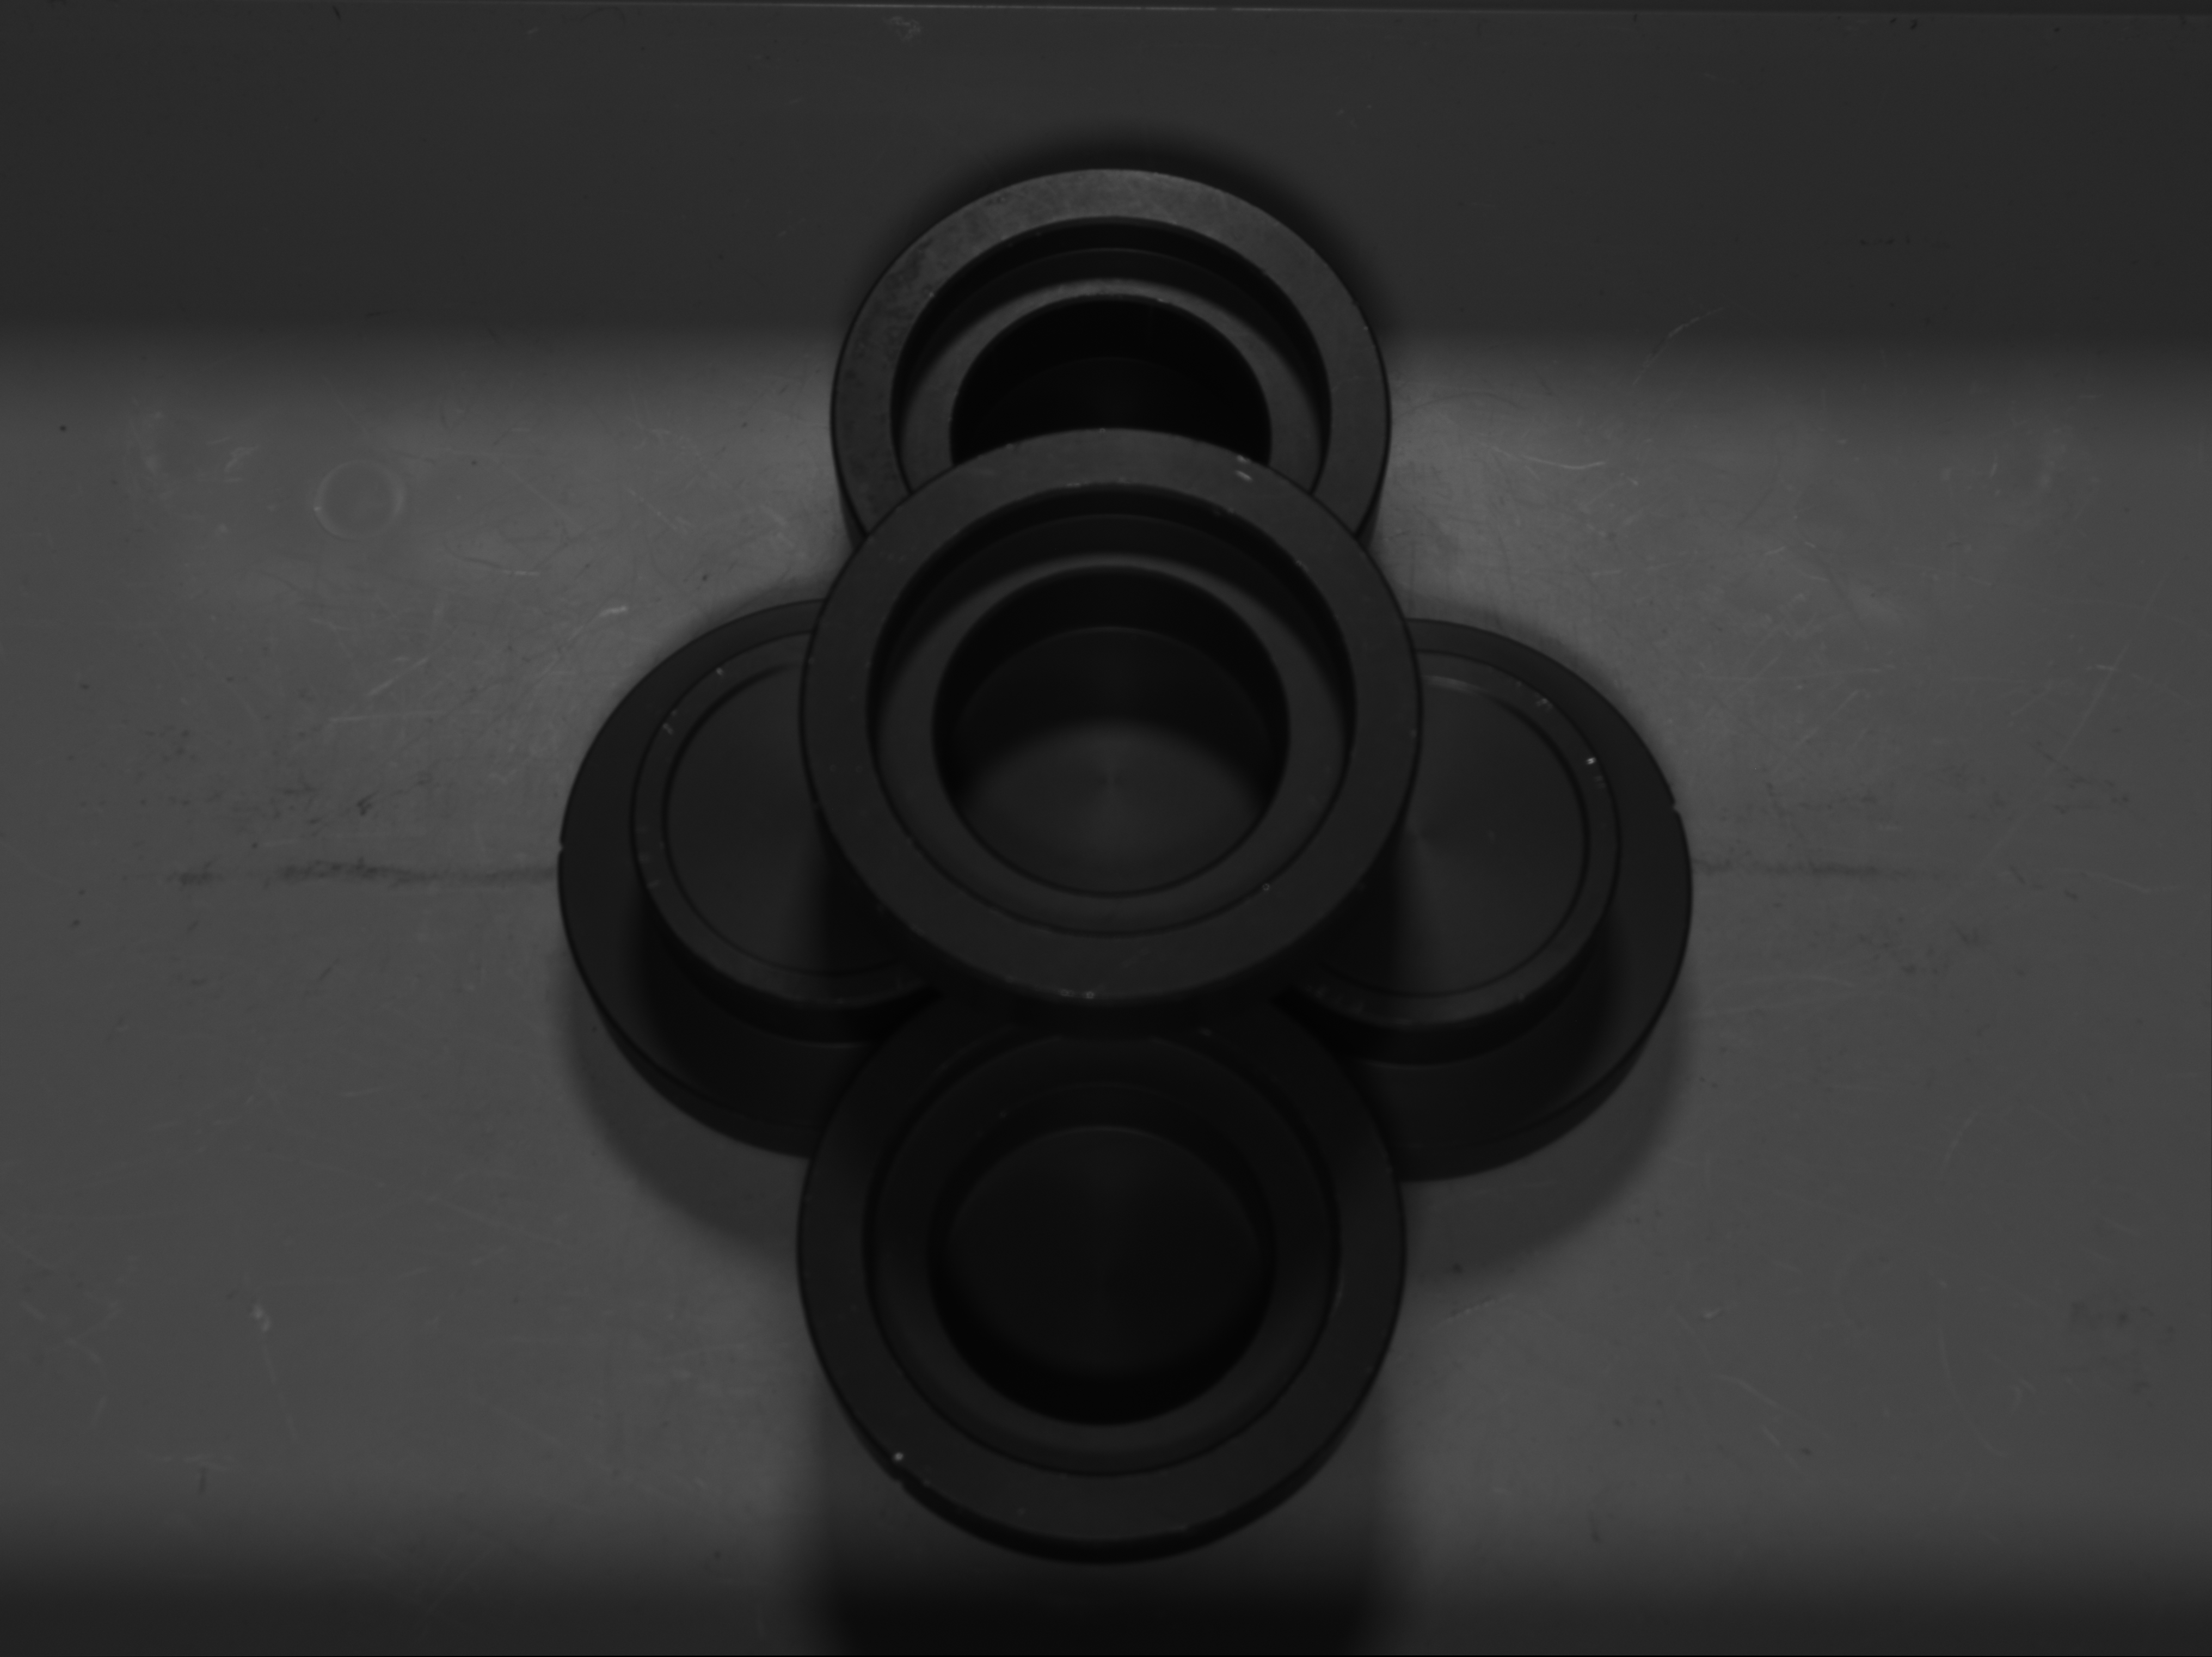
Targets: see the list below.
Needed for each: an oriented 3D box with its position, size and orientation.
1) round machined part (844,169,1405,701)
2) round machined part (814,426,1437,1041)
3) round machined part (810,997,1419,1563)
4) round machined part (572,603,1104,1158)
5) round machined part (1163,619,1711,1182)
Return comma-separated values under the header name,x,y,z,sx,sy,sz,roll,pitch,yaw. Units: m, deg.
name,x,y,z,sx,sy,sz,roll,pitch,yaw
round machined part,0.003,-0.065,0.658,0.098,0.042,0.098,0,70,0
round machined part,0.003,-0.012,0.594,0.098,0.042,0.098,0,70,0
round machined part,0.001,0.073,0.607,0.098,0.042,0.098,0,70,0
round machined part,-0.043,0.005,0.632,0.098,0.042,0.098,0,70,0
round machined part,0.055,0.008,0.631,0.098,0.042,0.098,0,70,0
